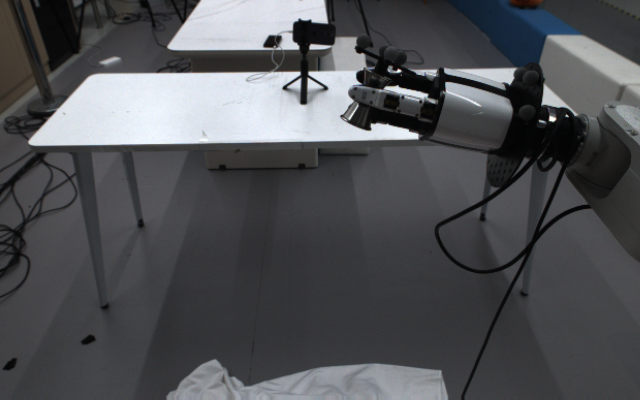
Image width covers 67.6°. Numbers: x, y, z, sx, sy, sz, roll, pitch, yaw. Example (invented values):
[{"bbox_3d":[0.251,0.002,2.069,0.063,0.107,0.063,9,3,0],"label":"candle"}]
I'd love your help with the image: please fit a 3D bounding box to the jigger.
[{"bbox_3d":[0.058,-0.127,0.614,0.043,0.071,0.043,23,19,-8],"label":"jigger"}]
